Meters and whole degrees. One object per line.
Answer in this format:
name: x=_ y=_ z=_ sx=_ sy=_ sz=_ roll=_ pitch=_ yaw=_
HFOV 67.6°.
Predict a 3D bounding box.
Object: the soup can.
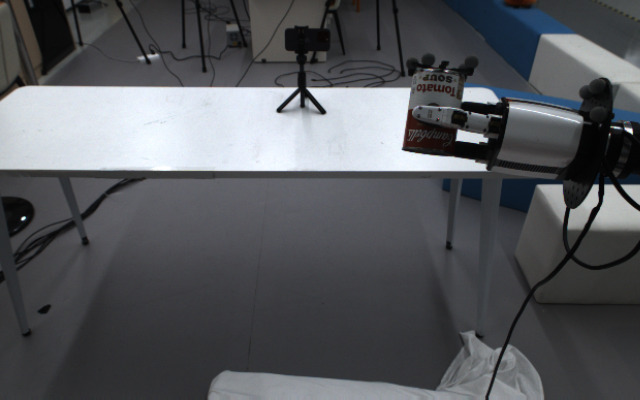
soup can: x=0.148 y=-0.113 z=0.629 sx=0.067 sy=0.101 sz=0.067 roll=7 pitch=4 yaw=0
